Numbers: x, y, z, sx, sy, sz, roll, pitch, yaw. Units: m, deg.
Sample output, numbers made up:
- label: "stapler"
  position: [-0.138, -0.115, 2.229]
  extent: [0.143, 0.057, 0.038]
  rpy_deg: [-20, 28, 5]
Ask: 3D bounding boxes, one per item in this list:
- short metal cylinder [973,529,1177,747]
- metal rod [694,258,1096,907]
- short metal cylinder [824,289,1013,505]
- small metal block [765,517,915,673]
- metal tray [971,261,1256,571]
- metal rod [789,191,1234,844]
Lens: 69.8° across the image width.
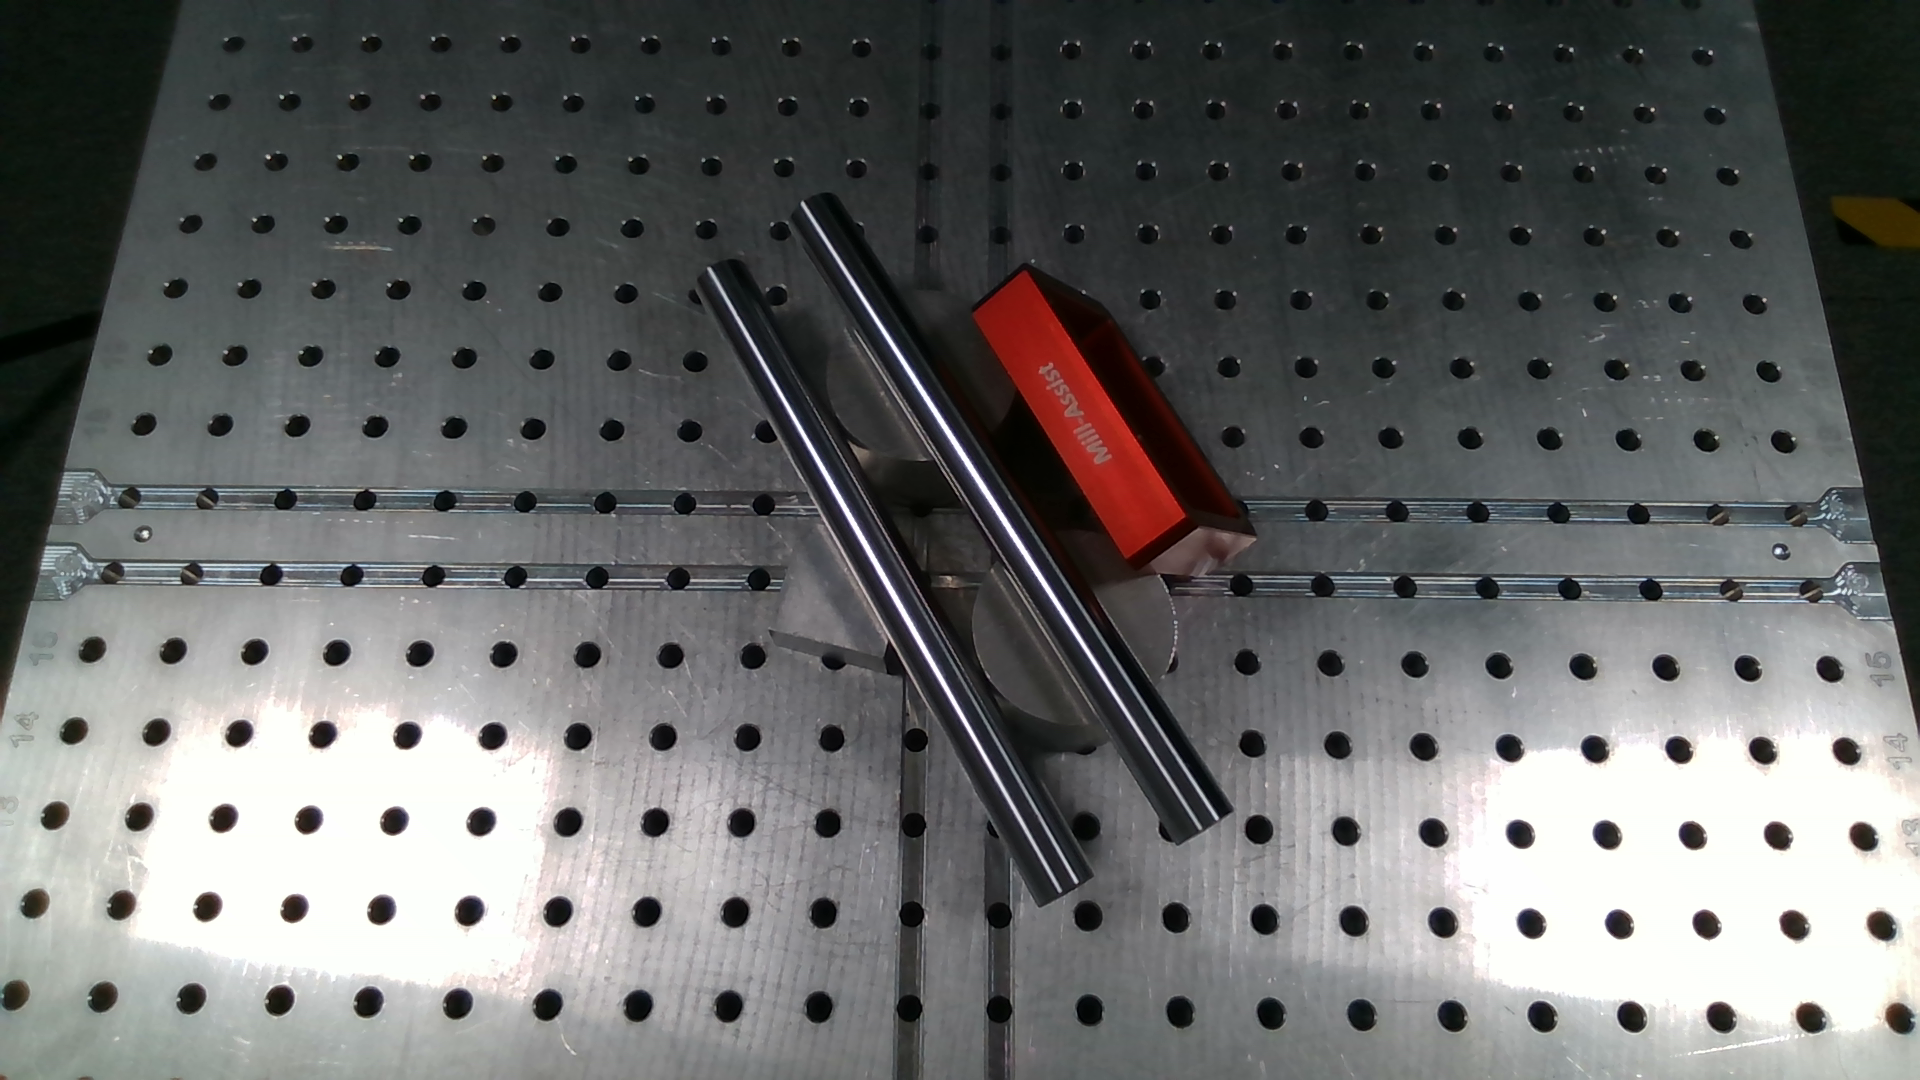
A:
- label: "short metal cylinder"
  position: [0.045, 0.042, 0.563]
  extent: [0.080, 0.050, 0.080]
  rpy_deg: [0, 70, 0]
- label: "metal rod"
  position: [-0.032, 0.008, 0.560]
  extent: [0.025, 0.025, 0.299]
  rpy_deg: [-28, 73, -9]
- label: "short metal cylinder"
  position: [-0.017, -0.062, 0.599]
  extent: [0.080, 0.050, 0.080]
  rpy_deg: [0, 70, 0]
- label: "small metal block"
  position: [-0.049, 0.023, 0.581]
  extent: [0.050, 0.025, 0.050]
  rpy_deg: [14, 71, 5]
- label: "metal tray"
  position: [0.065, -0.048, 0.572]
  extent: [0.030, 0.090, 0.130]
  rpy_deg: [-37, 72, 21]
- label: "metal rod"
  position: [0.014, -0.018, 0.543]
  extent: [0.025, 0.025, 0.299]
  rpy_deg: [-29, 73, -10]
